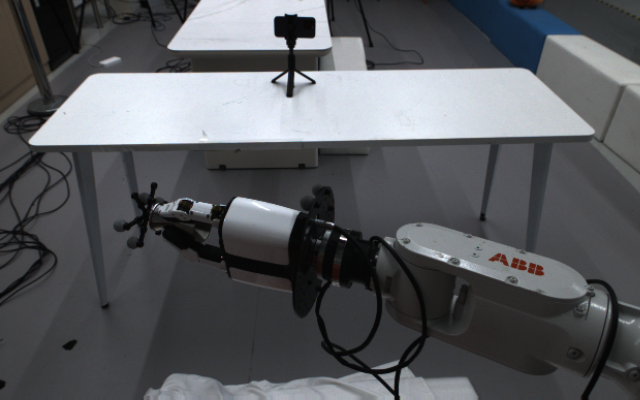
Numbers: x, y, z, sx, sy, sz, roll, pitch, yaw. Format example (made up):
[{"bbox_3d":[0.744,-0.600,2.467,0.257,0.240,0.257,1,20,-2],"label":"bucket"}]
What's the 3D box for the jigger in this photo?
[{"bbox_3d":[-0.176,0.024,0.629,0.071,0.043,0.043,10,35,16],"label":"jigger"}]
